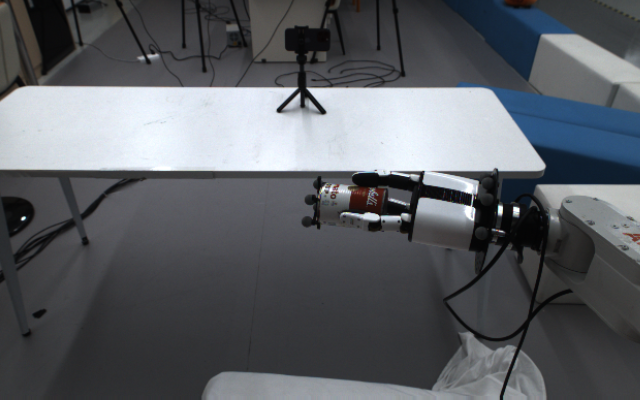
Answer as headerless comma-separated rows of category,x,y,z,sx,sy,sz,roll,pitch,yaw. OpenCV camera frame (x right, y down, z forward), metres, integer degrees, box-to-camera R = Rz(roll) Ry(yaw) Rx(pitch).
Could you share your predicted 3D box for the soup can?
soup can,0.054,0.010,0.760,0.101,0.067,0.067,5,35,13
